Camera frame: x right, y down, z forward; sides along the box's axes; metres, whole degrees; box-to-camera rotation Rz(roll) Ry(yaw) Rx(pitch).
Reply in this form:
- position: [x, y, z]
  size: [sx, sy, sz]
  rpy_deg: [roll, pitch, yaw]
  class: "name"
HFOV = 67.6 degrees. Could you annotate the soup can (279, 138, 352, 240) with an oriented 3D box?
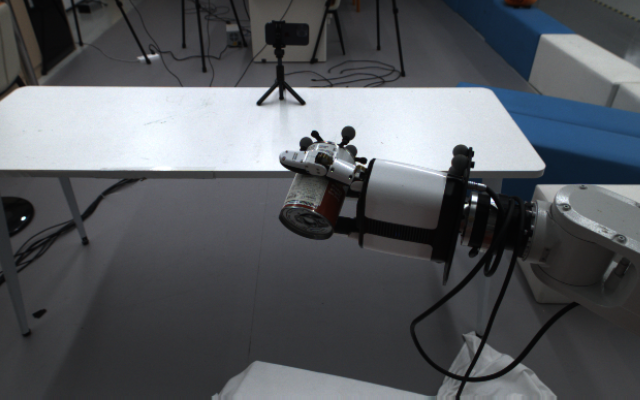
- position: [-0.001, -0.014, 0.585]
  size: [0.067, 0.067, 0.101]
  rpy_deg: [12, 59, 14]
  class: "soup can"
